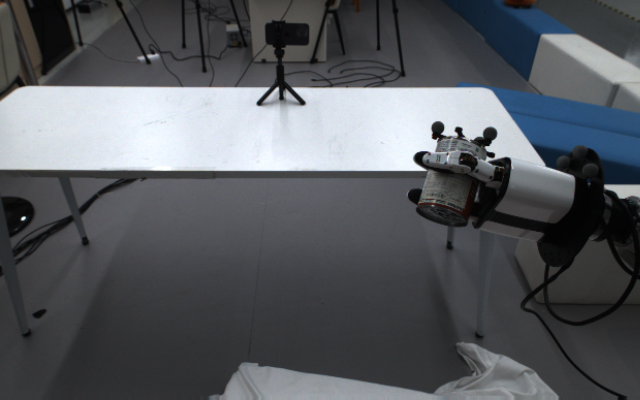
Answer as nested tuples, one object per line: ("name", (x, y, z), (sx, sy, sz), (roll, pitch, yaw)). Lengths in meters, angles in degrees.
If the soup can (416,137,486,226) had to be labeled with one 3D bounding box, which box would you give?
("soup can", (0.174, -0.025, 0.636), (0.067, 0.067, 0.101), (15, 75, 18))
